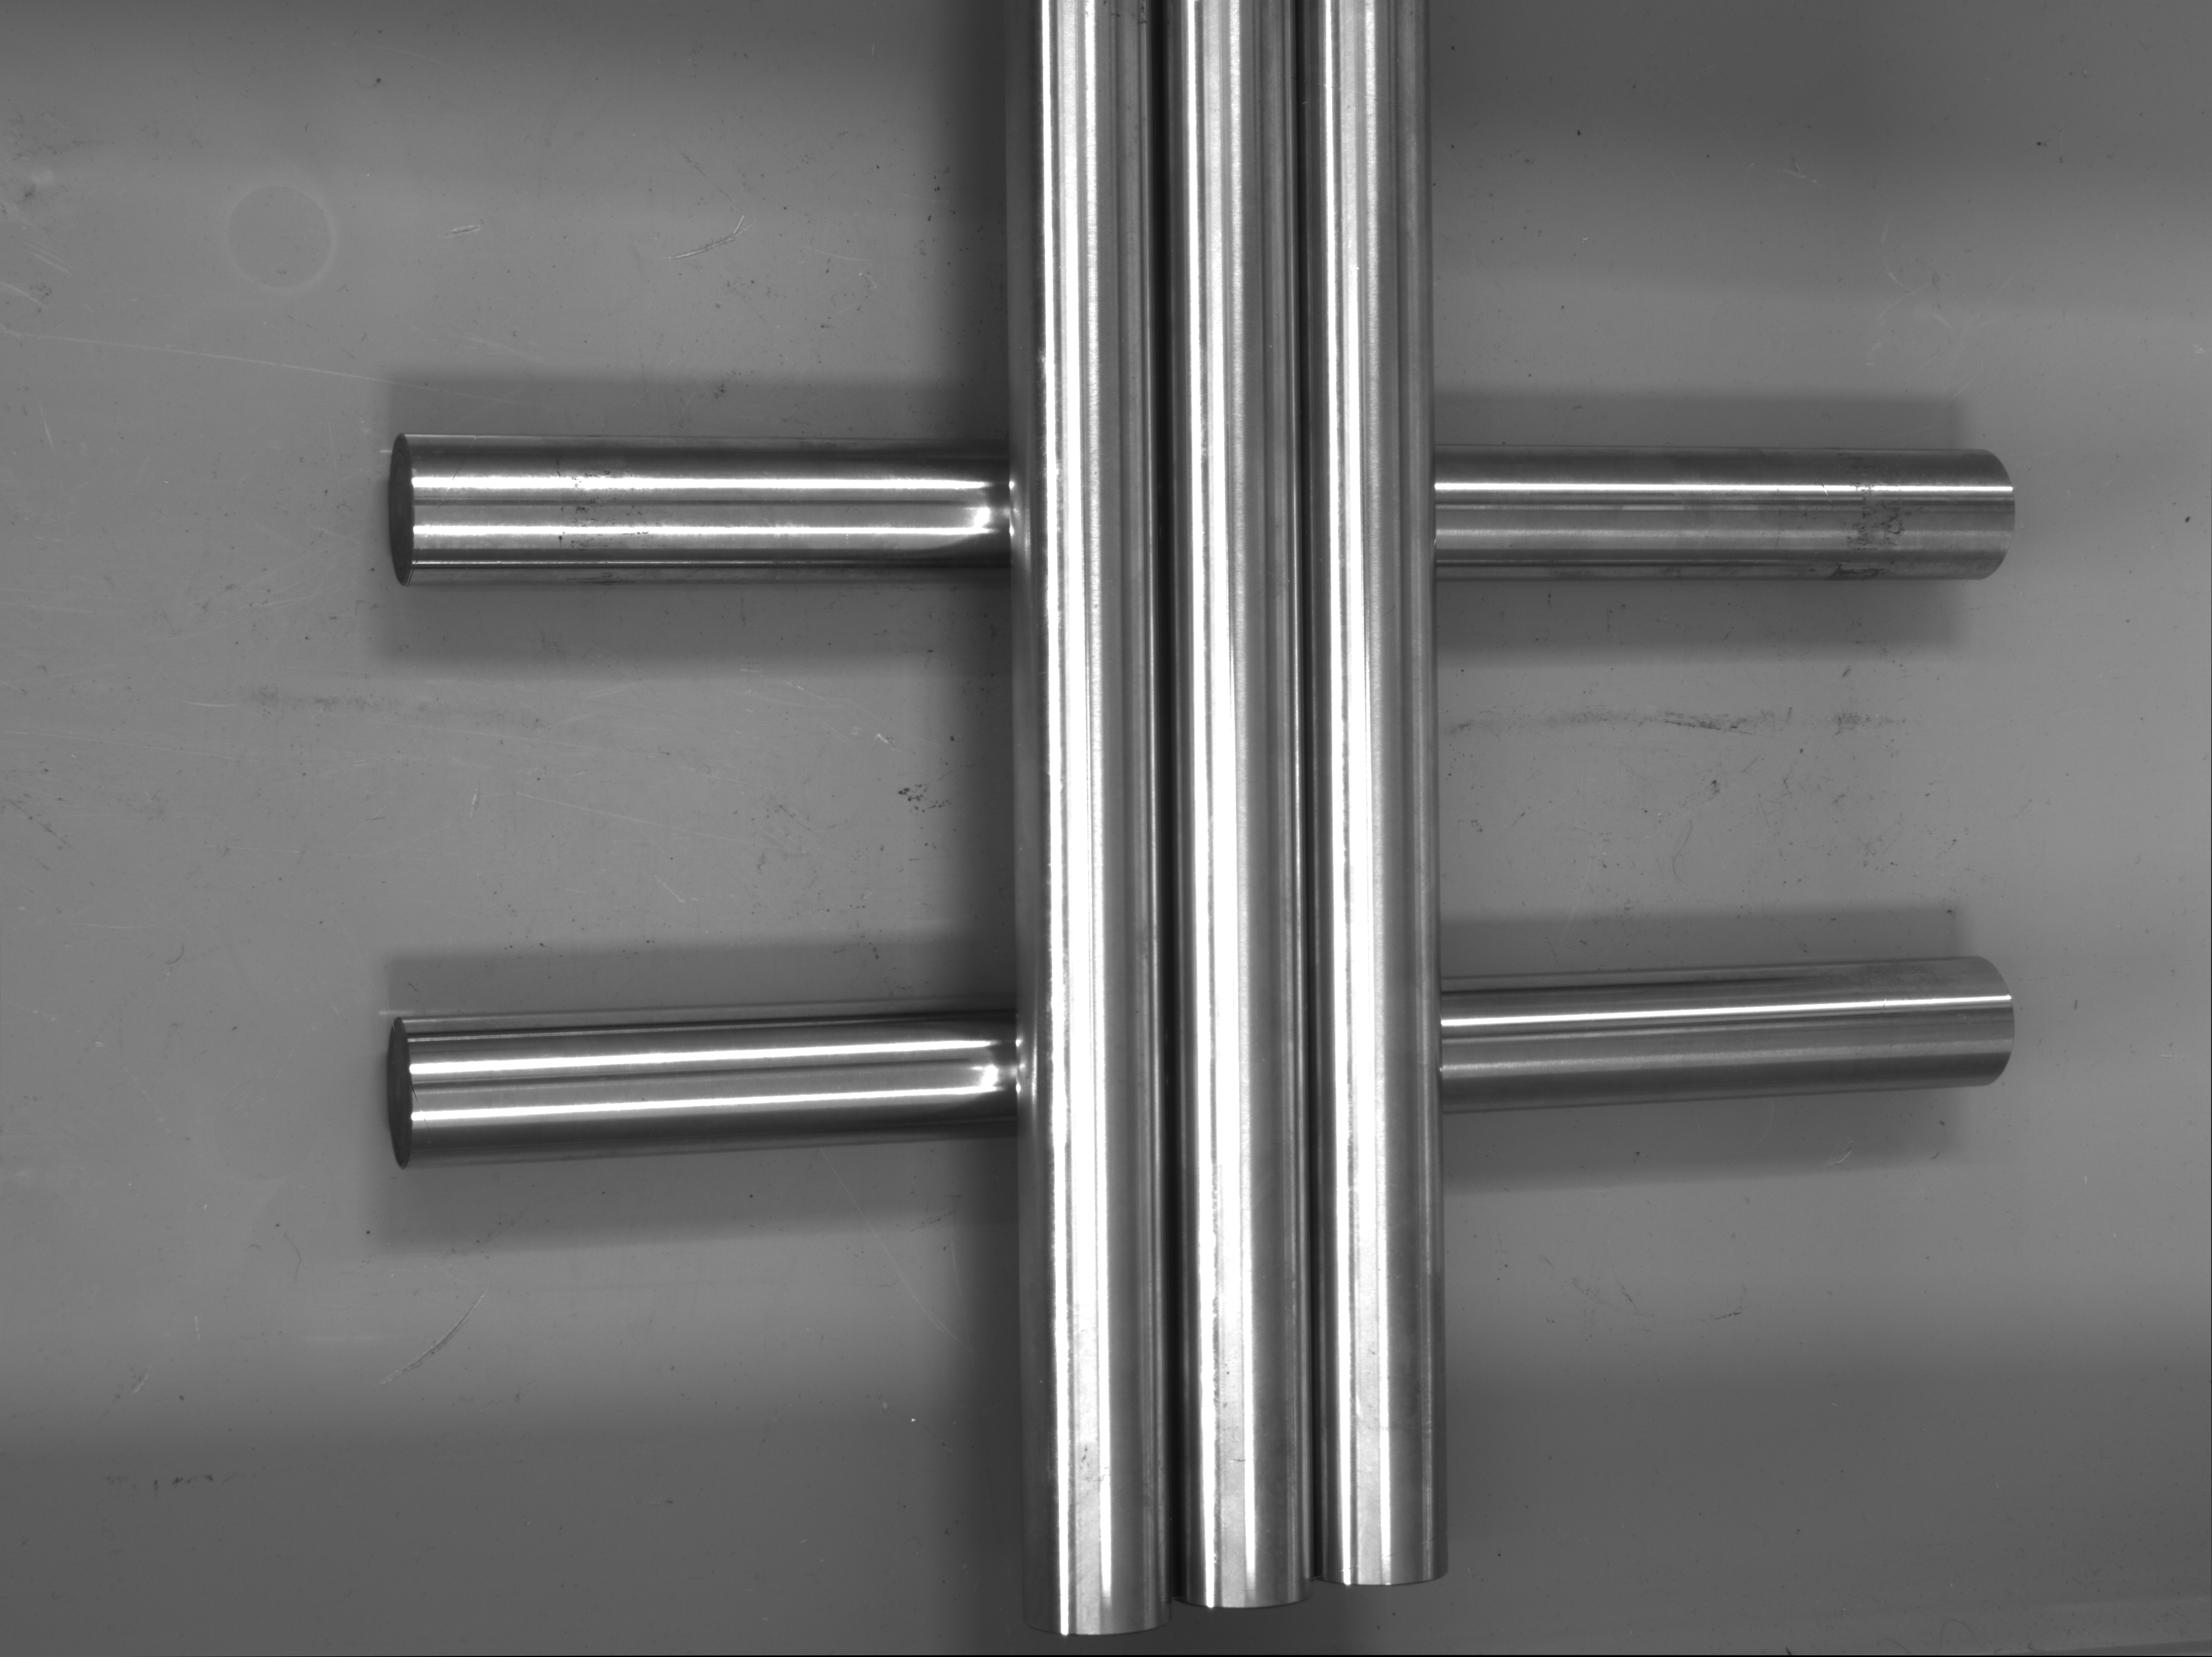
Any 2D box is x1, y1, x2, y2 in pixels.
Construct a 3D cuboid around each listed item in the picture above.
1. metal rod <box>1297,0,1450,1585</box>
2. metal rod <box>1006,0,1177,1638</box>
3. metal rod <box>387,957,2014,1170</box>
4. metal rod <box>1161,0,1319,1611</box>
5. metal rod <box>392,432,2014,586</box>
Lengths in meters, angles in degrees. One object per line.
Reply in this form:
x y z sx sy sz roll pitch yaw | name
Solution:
0.045 -0.022 0.631 0.025 0.025 0.300 -1 90 -20 | metal rod
-0.003 -0.017 0.613 0.025 0.025 0.300 -1 90 -20 | metal rod
0.026 0.040 0.651 0.301 0.025 0.025 -1 90 -20 | metal rod
0.022 -0.020 0.622 0.025 0.025 0.300 -1 90 -20 | metal rod
0.026 -0.056 0.652 0.301 0.025 0.025 -1 90 -20 | metal rod
